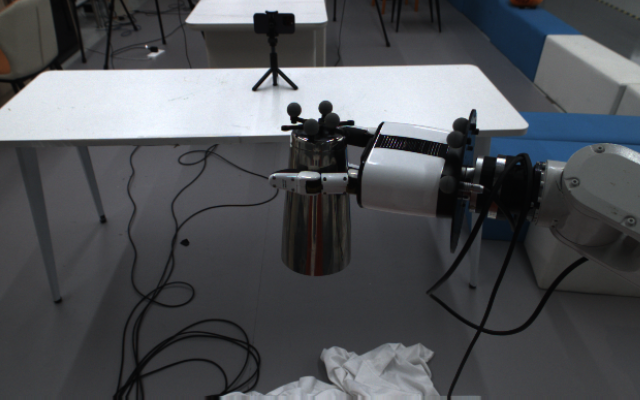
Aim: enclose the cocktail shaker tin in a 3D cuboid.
[{"bbox_3d":[0.000,-0.005,0.603,0.093,0.170,0.093,1,27,-1],"label":"cocktail shaker tin"}]
